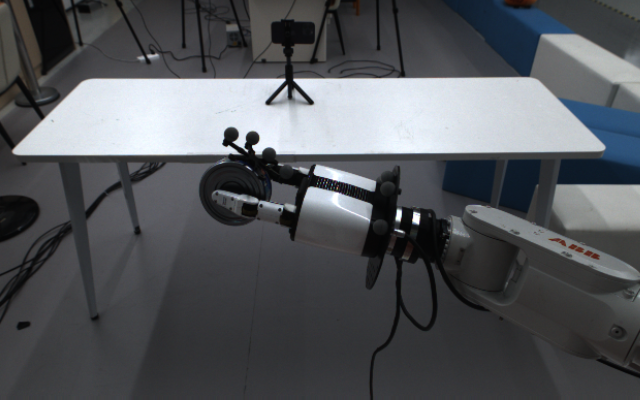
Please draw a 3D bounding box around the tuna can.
[{"bbox_3d":[-0.102,-0.006,0.601,0.085,0.085,0.034,6,19,6],"label":"tuna can"}]
